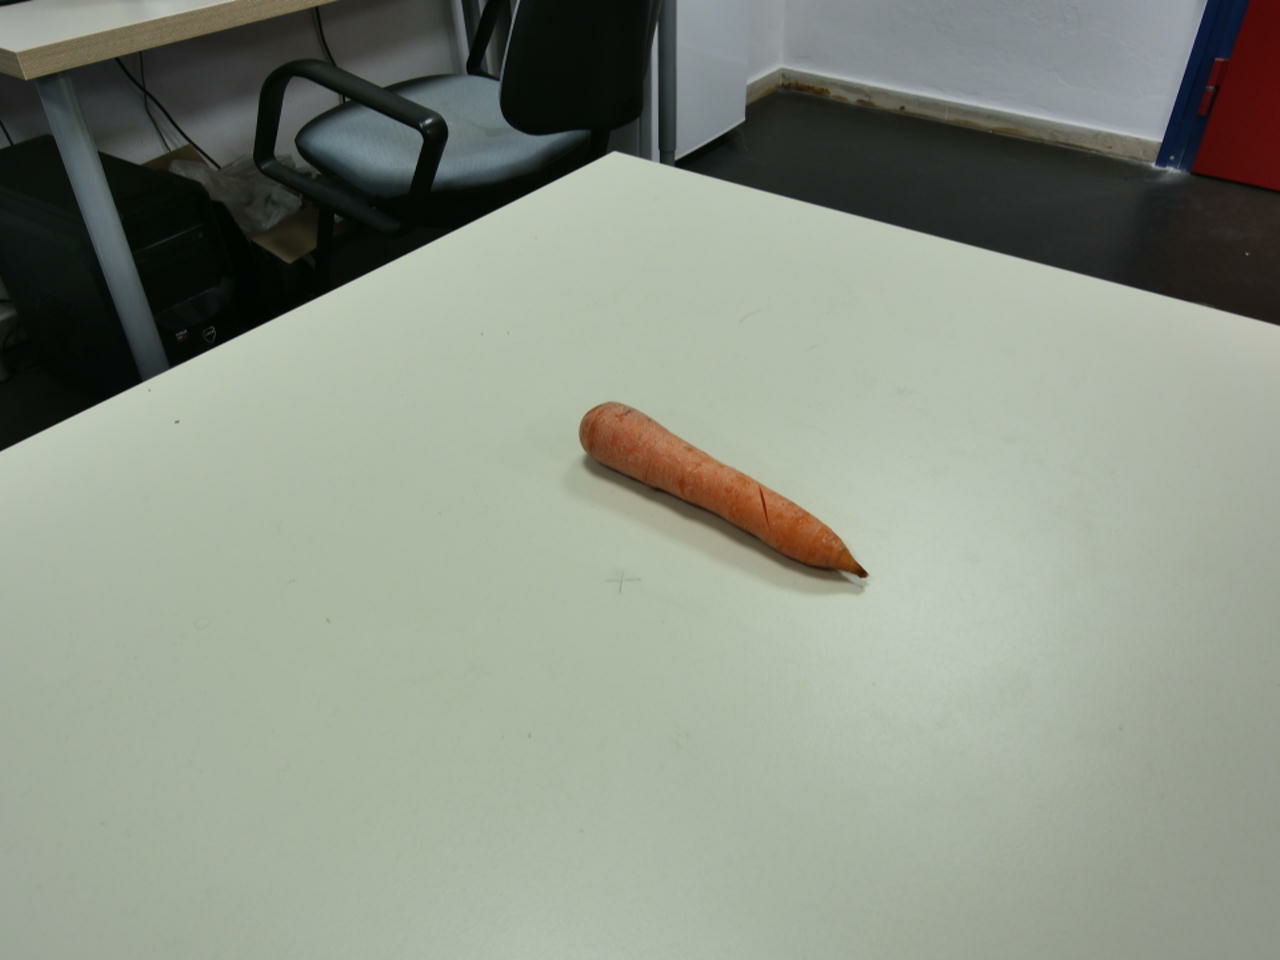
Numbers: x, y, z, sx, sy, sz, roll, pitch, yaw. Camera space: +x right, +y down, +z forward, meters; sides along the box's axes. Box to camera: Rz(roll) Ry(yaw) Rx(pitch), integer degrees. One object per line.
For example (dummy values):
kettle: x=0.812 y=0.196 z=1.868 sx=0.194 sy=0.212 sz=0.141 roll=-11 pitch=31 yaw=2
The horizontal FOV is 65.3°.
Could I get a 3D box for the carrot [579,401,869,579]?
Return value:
carrot: x=0.045 y=0.002 z=0.567 sx=0.196 sy=0.041 sz=0.039 roll=26 pitch=44 yaw=29
